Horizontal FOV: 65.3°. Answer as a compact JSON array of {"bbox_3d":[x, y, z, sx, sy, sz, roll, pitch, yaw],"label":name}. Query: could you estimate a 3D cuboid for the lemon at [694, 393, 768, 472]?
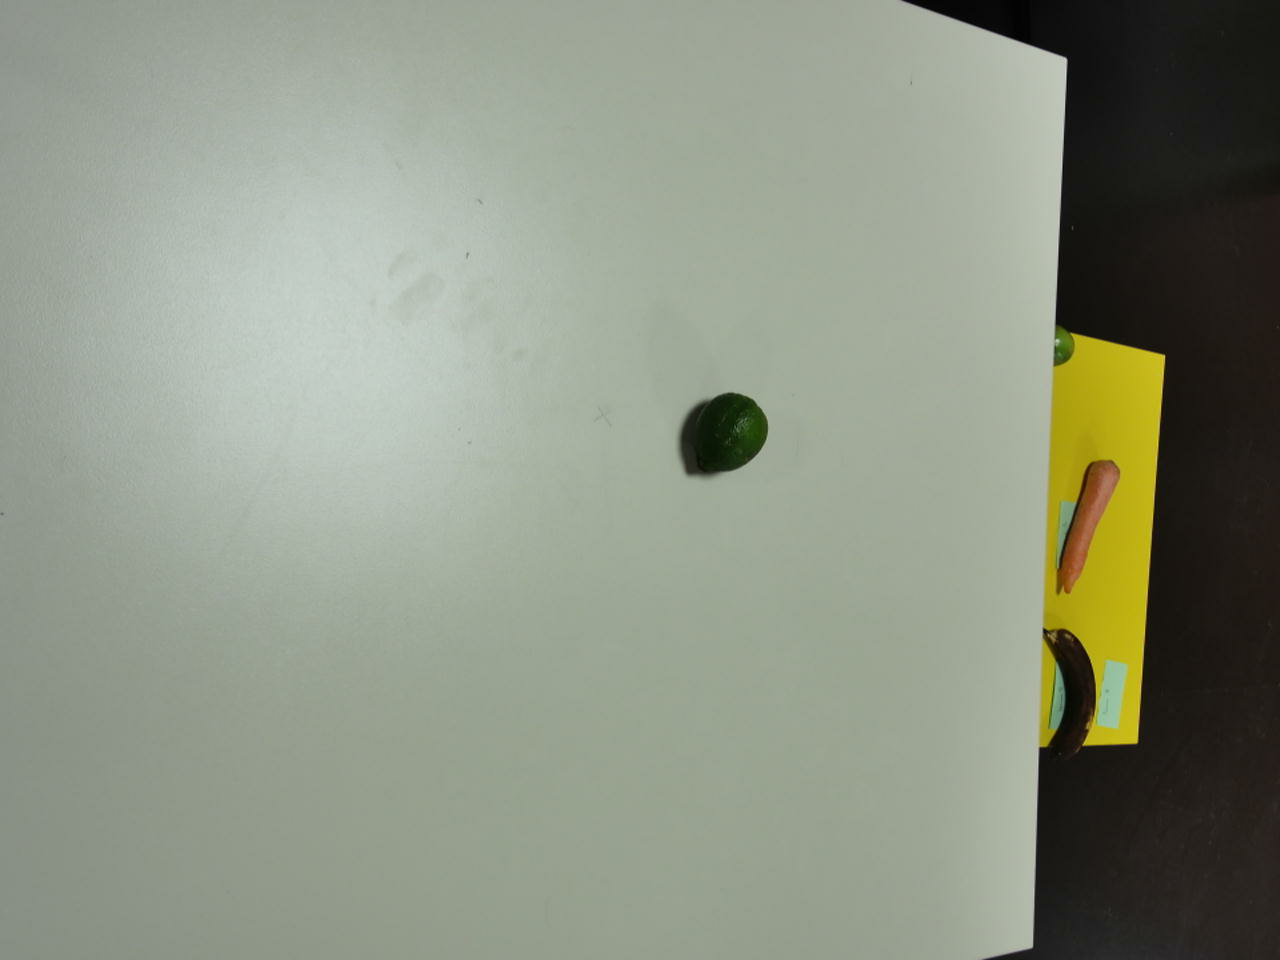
[{"bbox_3d":[0.067,-0.035,0.734,0.054,0.051,0.057,-1,91,-28],"label":"lemon"}]
